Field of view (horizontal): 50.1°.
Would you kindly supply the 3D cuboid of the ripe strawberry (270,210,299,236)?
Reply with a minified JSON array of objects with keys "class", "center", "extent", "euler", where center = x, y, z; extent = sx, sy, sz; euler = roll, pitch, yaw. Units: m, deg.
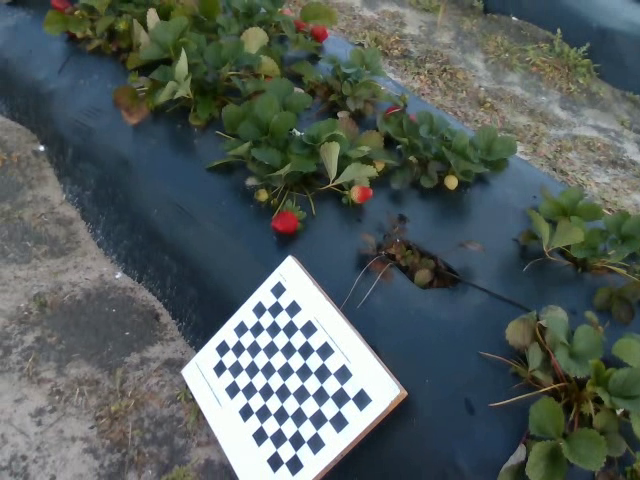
[{"class":"ripe strawberry","center":[-0.058,-0.031,1.094],"extent":[0.045,0.042,0.054],"euler":[-11,2,31]}]
